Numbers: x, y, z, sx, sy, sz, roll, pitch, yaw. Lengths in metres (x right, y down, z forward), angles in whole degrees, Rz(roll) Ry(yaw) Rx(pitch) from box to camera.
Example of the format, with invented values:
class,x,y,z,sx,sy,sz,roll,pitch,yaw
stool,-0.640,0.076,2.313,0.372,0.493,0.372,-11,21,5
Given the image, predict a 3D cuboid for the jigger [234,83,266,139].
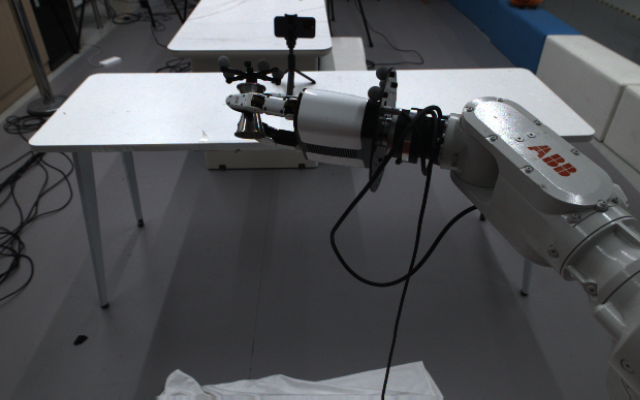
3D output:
class,x,y,z,sx,sy,sz,roll,pitch,yaw
jigger,-0.100,-0.122,0.664,0.043,0.071,0.043,0,-5,0
